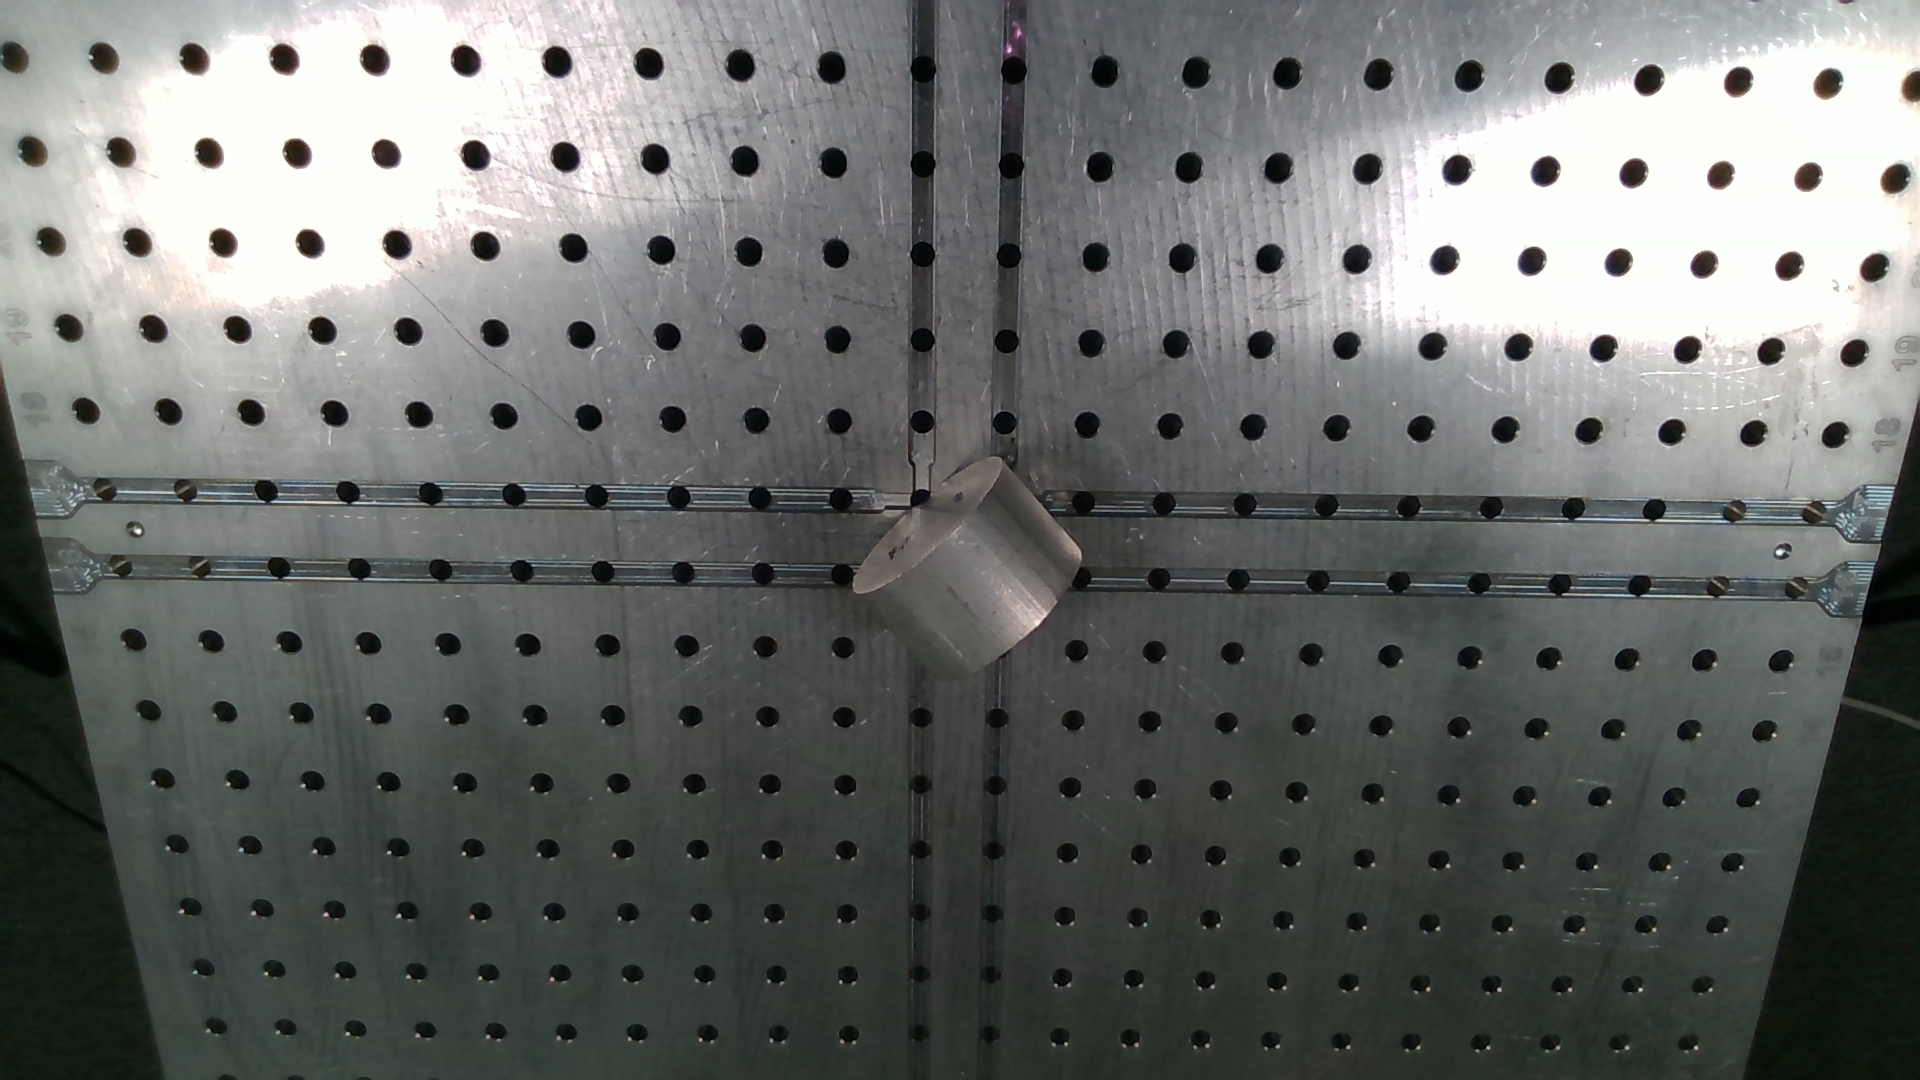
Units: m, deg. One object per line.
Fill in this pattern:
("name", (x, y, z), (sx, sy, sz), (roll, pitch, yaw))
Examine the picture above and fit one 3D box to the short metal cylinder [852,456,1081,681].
("short metal cylinder", (0.002, 0.011, 0.561), (0.080, 0.080, 0.050), (-39, 106, 13))
